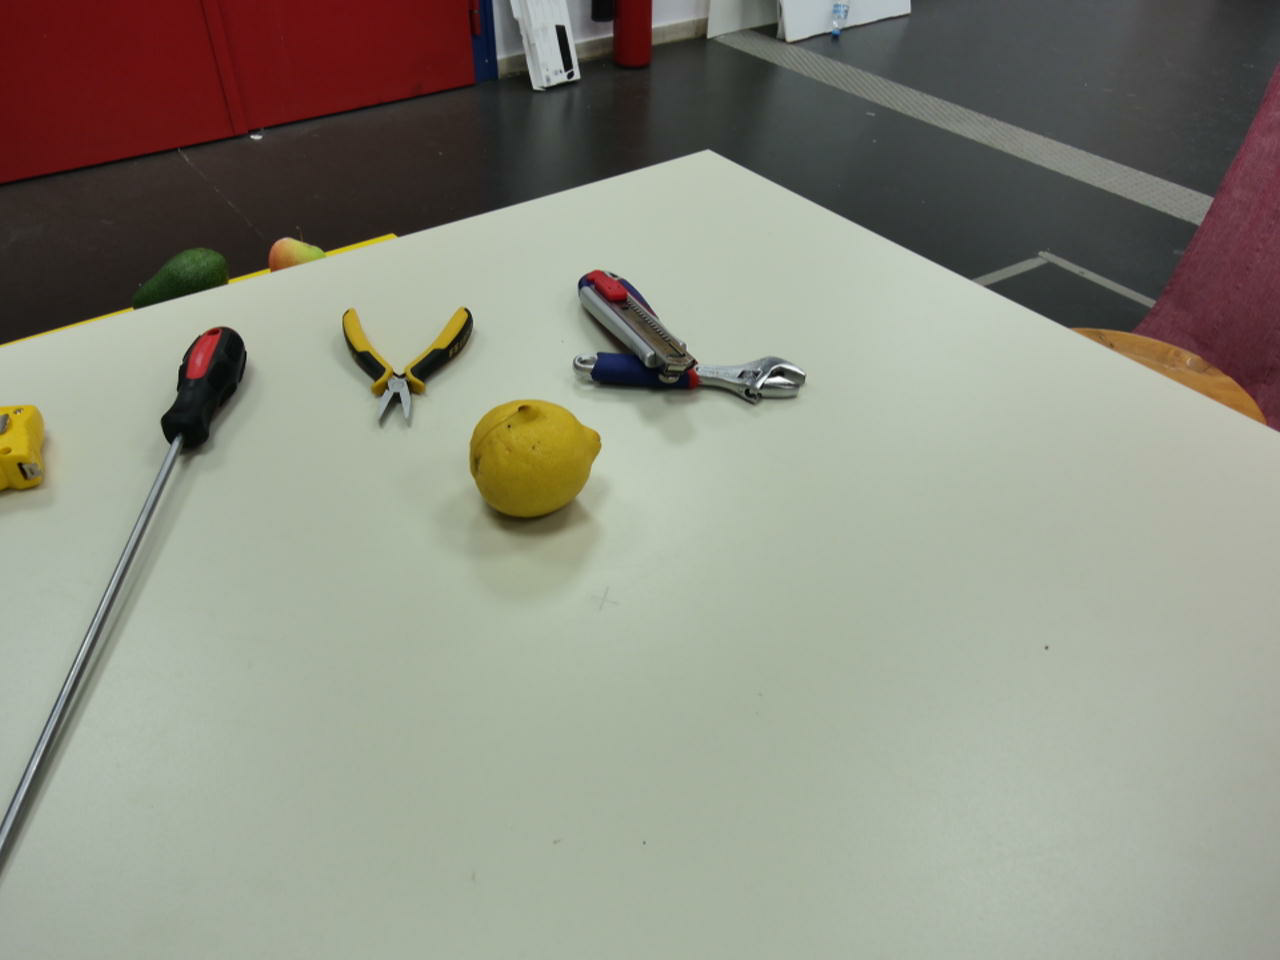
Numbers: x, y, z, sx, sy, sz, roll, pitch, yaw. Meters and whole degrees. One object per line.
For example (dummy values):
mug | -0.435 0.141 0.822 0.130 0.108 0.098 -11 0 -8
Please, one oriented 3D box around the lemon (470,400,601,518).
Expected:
lemon | -0.063 -0.015 0.576 0.071 0.071 0.070 13 40 15
